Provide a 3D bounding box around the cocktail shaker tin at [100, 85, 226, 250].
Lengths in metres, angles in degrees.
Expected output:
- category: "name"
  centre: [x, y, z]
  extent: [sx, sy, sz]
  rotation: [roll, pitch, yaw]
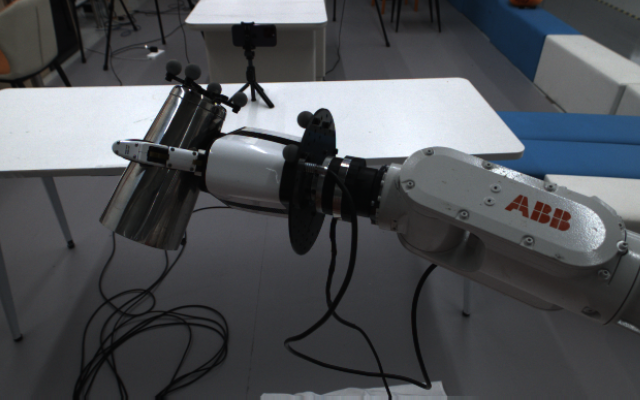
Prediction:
- category: "cocktail shaker tin"
  centre: [-0.169, -0.040, 0.552]
  extent: [0.093, 0.170, 0.093]
  rotation: [23, -1, 0]
